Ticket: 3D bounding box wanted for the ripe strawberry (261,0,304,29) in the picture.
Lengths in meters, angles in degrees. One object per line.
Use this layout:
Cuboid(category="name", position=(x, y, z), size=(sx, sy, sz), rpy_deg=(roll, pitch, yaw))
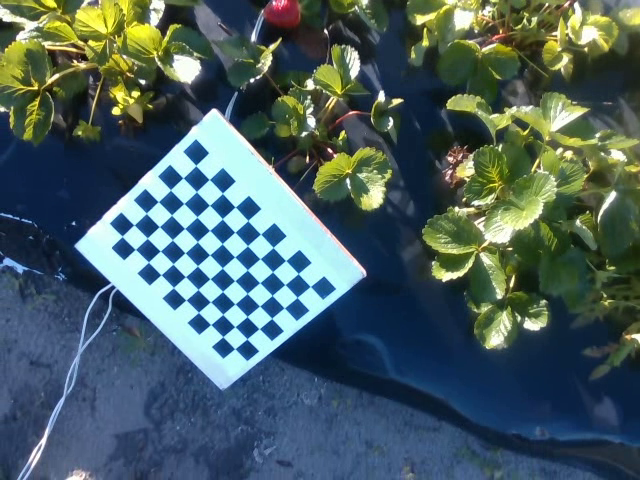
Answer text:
Cuboid(category="ripe strawberry", position=(-0.055, -0.354, 0.895), size=(0.080, 0.062, 0.040), rpy_deg=(-24, 19, -31))
